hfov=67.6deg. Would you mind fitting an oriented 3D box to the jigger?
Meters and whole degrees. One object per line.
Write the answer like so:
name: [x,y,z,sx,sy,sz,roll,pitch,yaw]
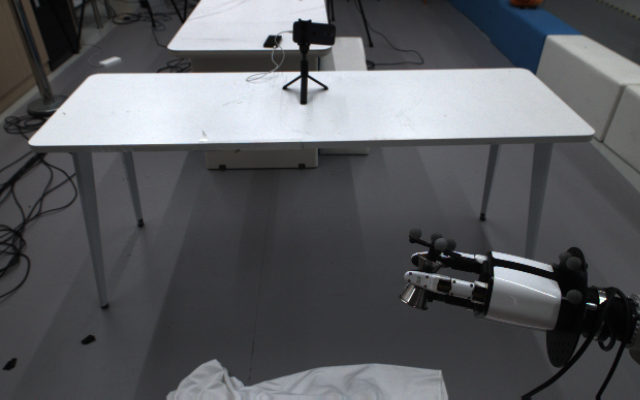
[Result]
jigger: [0.141,0.112,0.676,0.043,0.071,0.043,22,5,-2]
